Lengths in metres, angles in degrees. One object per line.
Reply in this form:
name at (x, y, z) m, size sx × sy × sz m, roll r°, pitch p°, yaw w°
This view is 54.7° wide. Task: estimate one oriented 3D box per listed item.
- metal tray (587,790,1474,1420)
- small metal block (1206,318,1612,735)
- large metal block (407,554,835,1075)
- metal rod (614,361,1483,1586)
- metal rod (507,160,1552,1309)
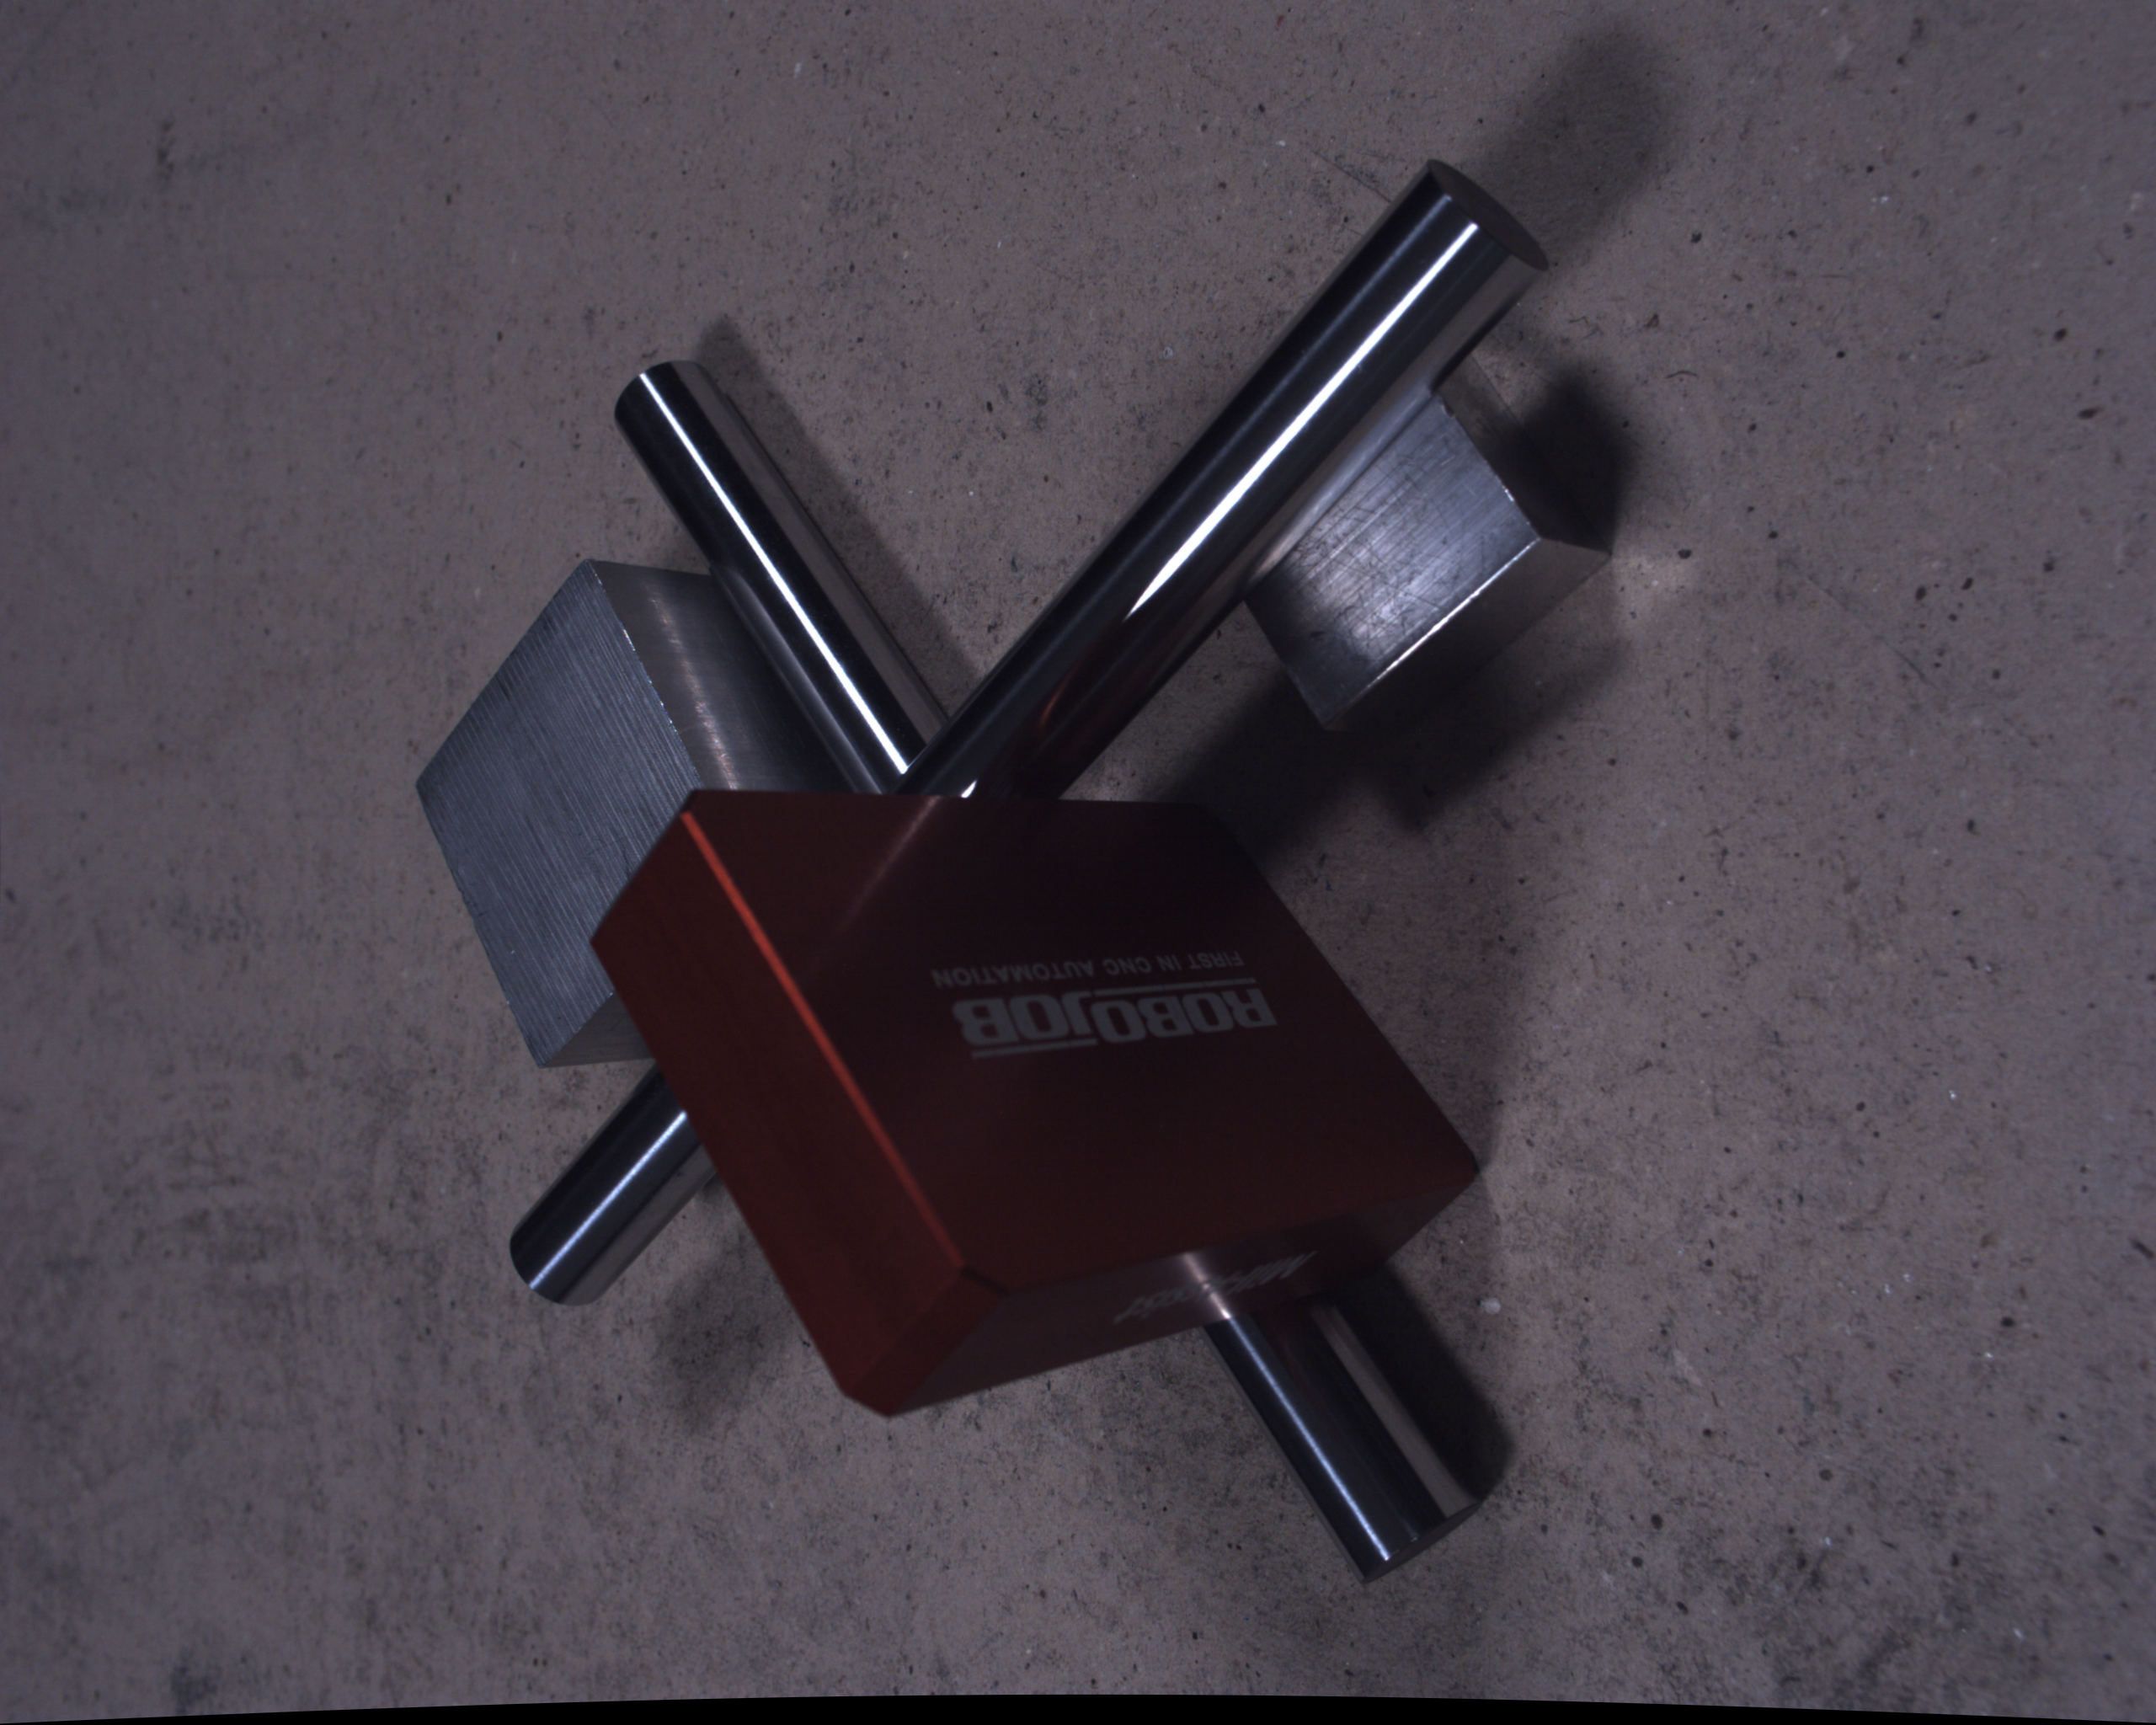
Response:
metal tray at (-0.002, 0.032, 0.337) m, size 0.030 × 0.131 × 0.090 m, roll -50°, pitch 60°, yaw 29°
small metal block at (0.054, -0.057, 0.360) m, size 0.050 × 0.025 × 0.050 m, roll -43°, pitch 65°, yaw 31°
large metal block at (-0.095, -0.010, 0.465) m, size 0.080 × 0.050 × 0.080 m, roll -44°, pitch 64°, yaw 31°
metal rod at (-0.018, 0.005, 0.420) m, size 0.025 × 0.025 × 0.299 m, roll -49°, pitch 61°, yaw 28°
metal rod at (-0.026, -0.005, 0.393) m, size 0.299 × 0.025 × 0.025 m, roll -46°, pitch 63°, yaw 29°
